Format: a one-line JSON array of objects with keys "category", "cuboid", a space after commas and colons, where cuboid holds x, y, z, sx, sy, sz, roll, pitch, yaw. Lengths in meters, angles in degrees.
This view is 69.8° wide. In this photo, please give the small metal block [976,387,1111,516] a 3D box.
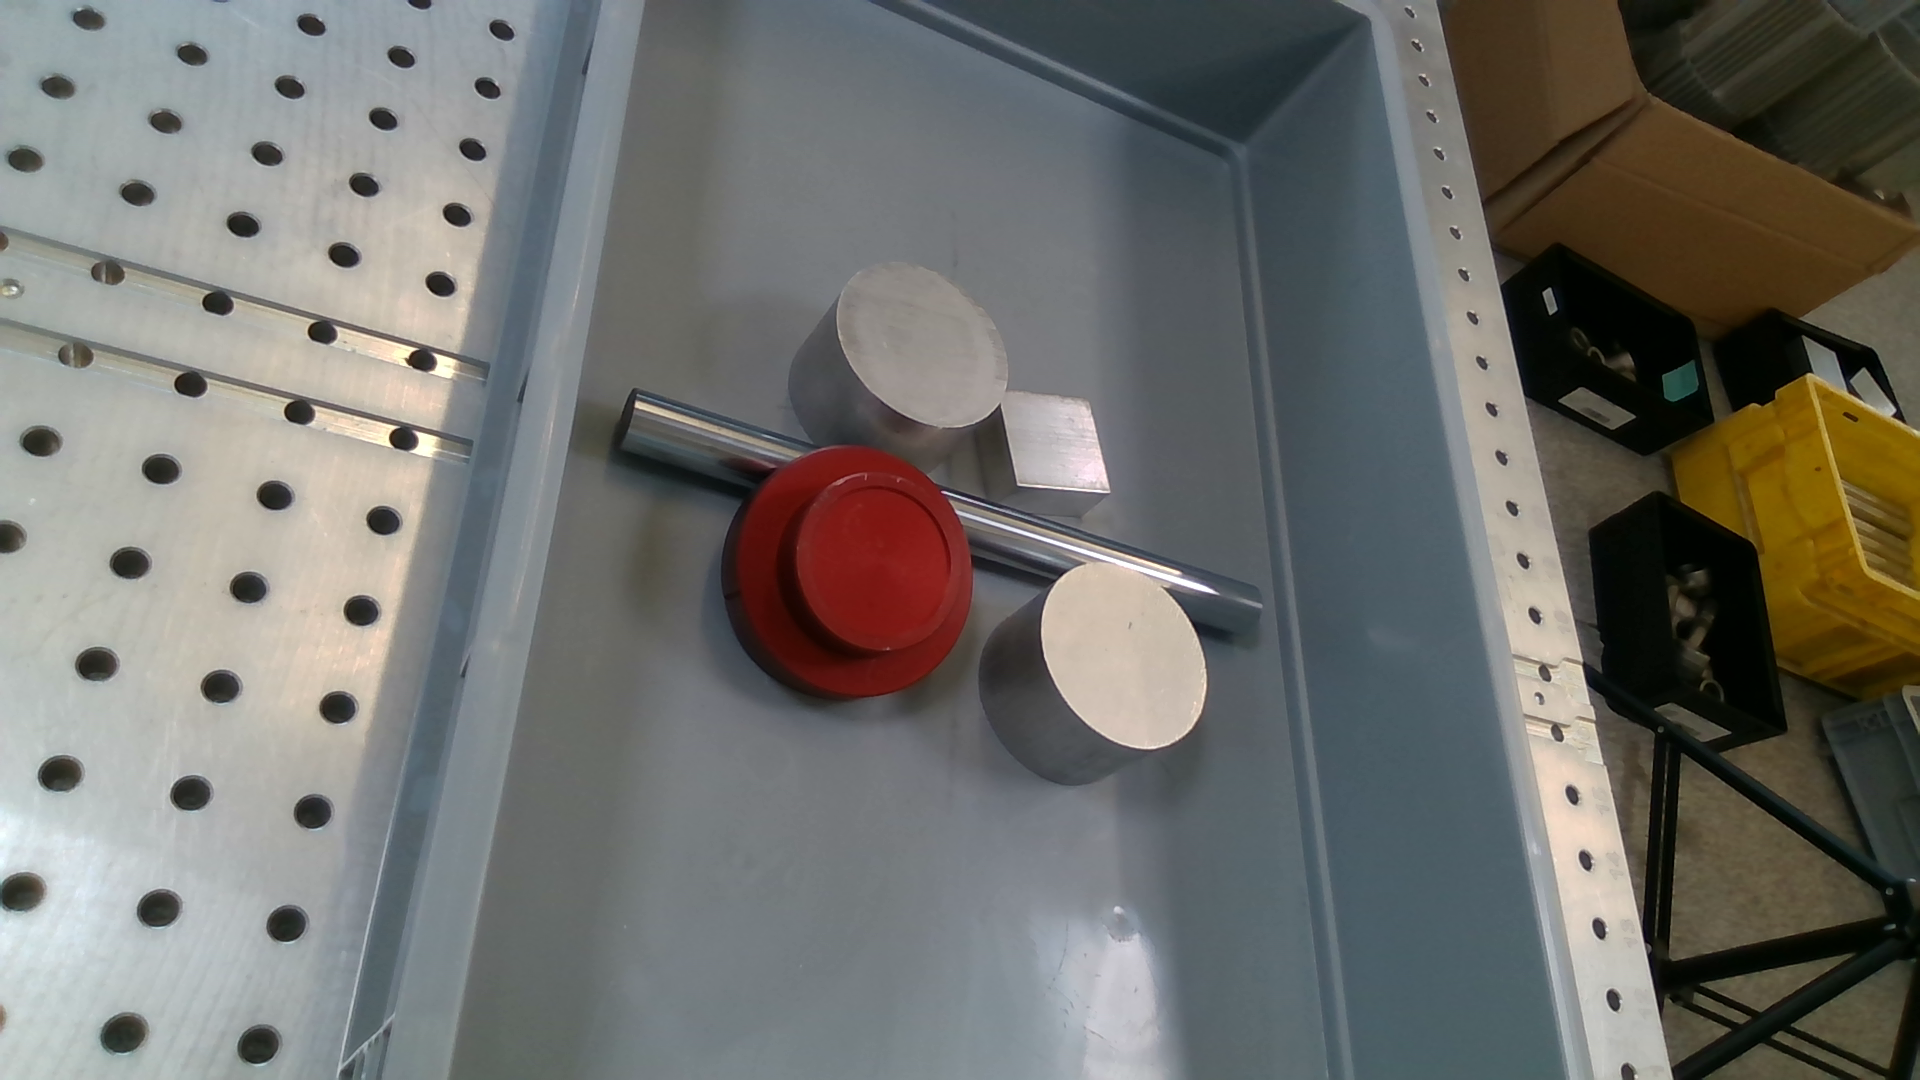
[{"category": "small metal block", "cuboid": [0.037, -0.040, 0.628, 0.050, 0.025, 0.050, 3, 64, -30]}]

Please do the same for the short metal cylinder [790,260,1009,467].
[{"category": "short metal cylinder", "cuboid": [-0.026, -0.072, 0.590, 0.080, 0.050, 0.080, 14, 59, -25]}]

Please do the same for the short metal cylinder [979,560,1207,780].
[{"category": "short metal cylinder", "cuboid": [0.055, 0.055, 0.573, 0.080, 0.050, 0.080, 14, 59, -25]}]

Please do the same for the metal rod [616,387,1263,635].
[{"category": "metal rod", "cuboid": [0.003, -0.007, 0.590, 0.300, 0.025, 0.025, 17, 58, -23]}]

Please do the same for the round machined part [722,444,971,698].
[{"category": "round machined part", "cuboid": [-0.038, 0.011, 0.528, 0.098, 0.042, 0.098, 5, 79, -27]}]
